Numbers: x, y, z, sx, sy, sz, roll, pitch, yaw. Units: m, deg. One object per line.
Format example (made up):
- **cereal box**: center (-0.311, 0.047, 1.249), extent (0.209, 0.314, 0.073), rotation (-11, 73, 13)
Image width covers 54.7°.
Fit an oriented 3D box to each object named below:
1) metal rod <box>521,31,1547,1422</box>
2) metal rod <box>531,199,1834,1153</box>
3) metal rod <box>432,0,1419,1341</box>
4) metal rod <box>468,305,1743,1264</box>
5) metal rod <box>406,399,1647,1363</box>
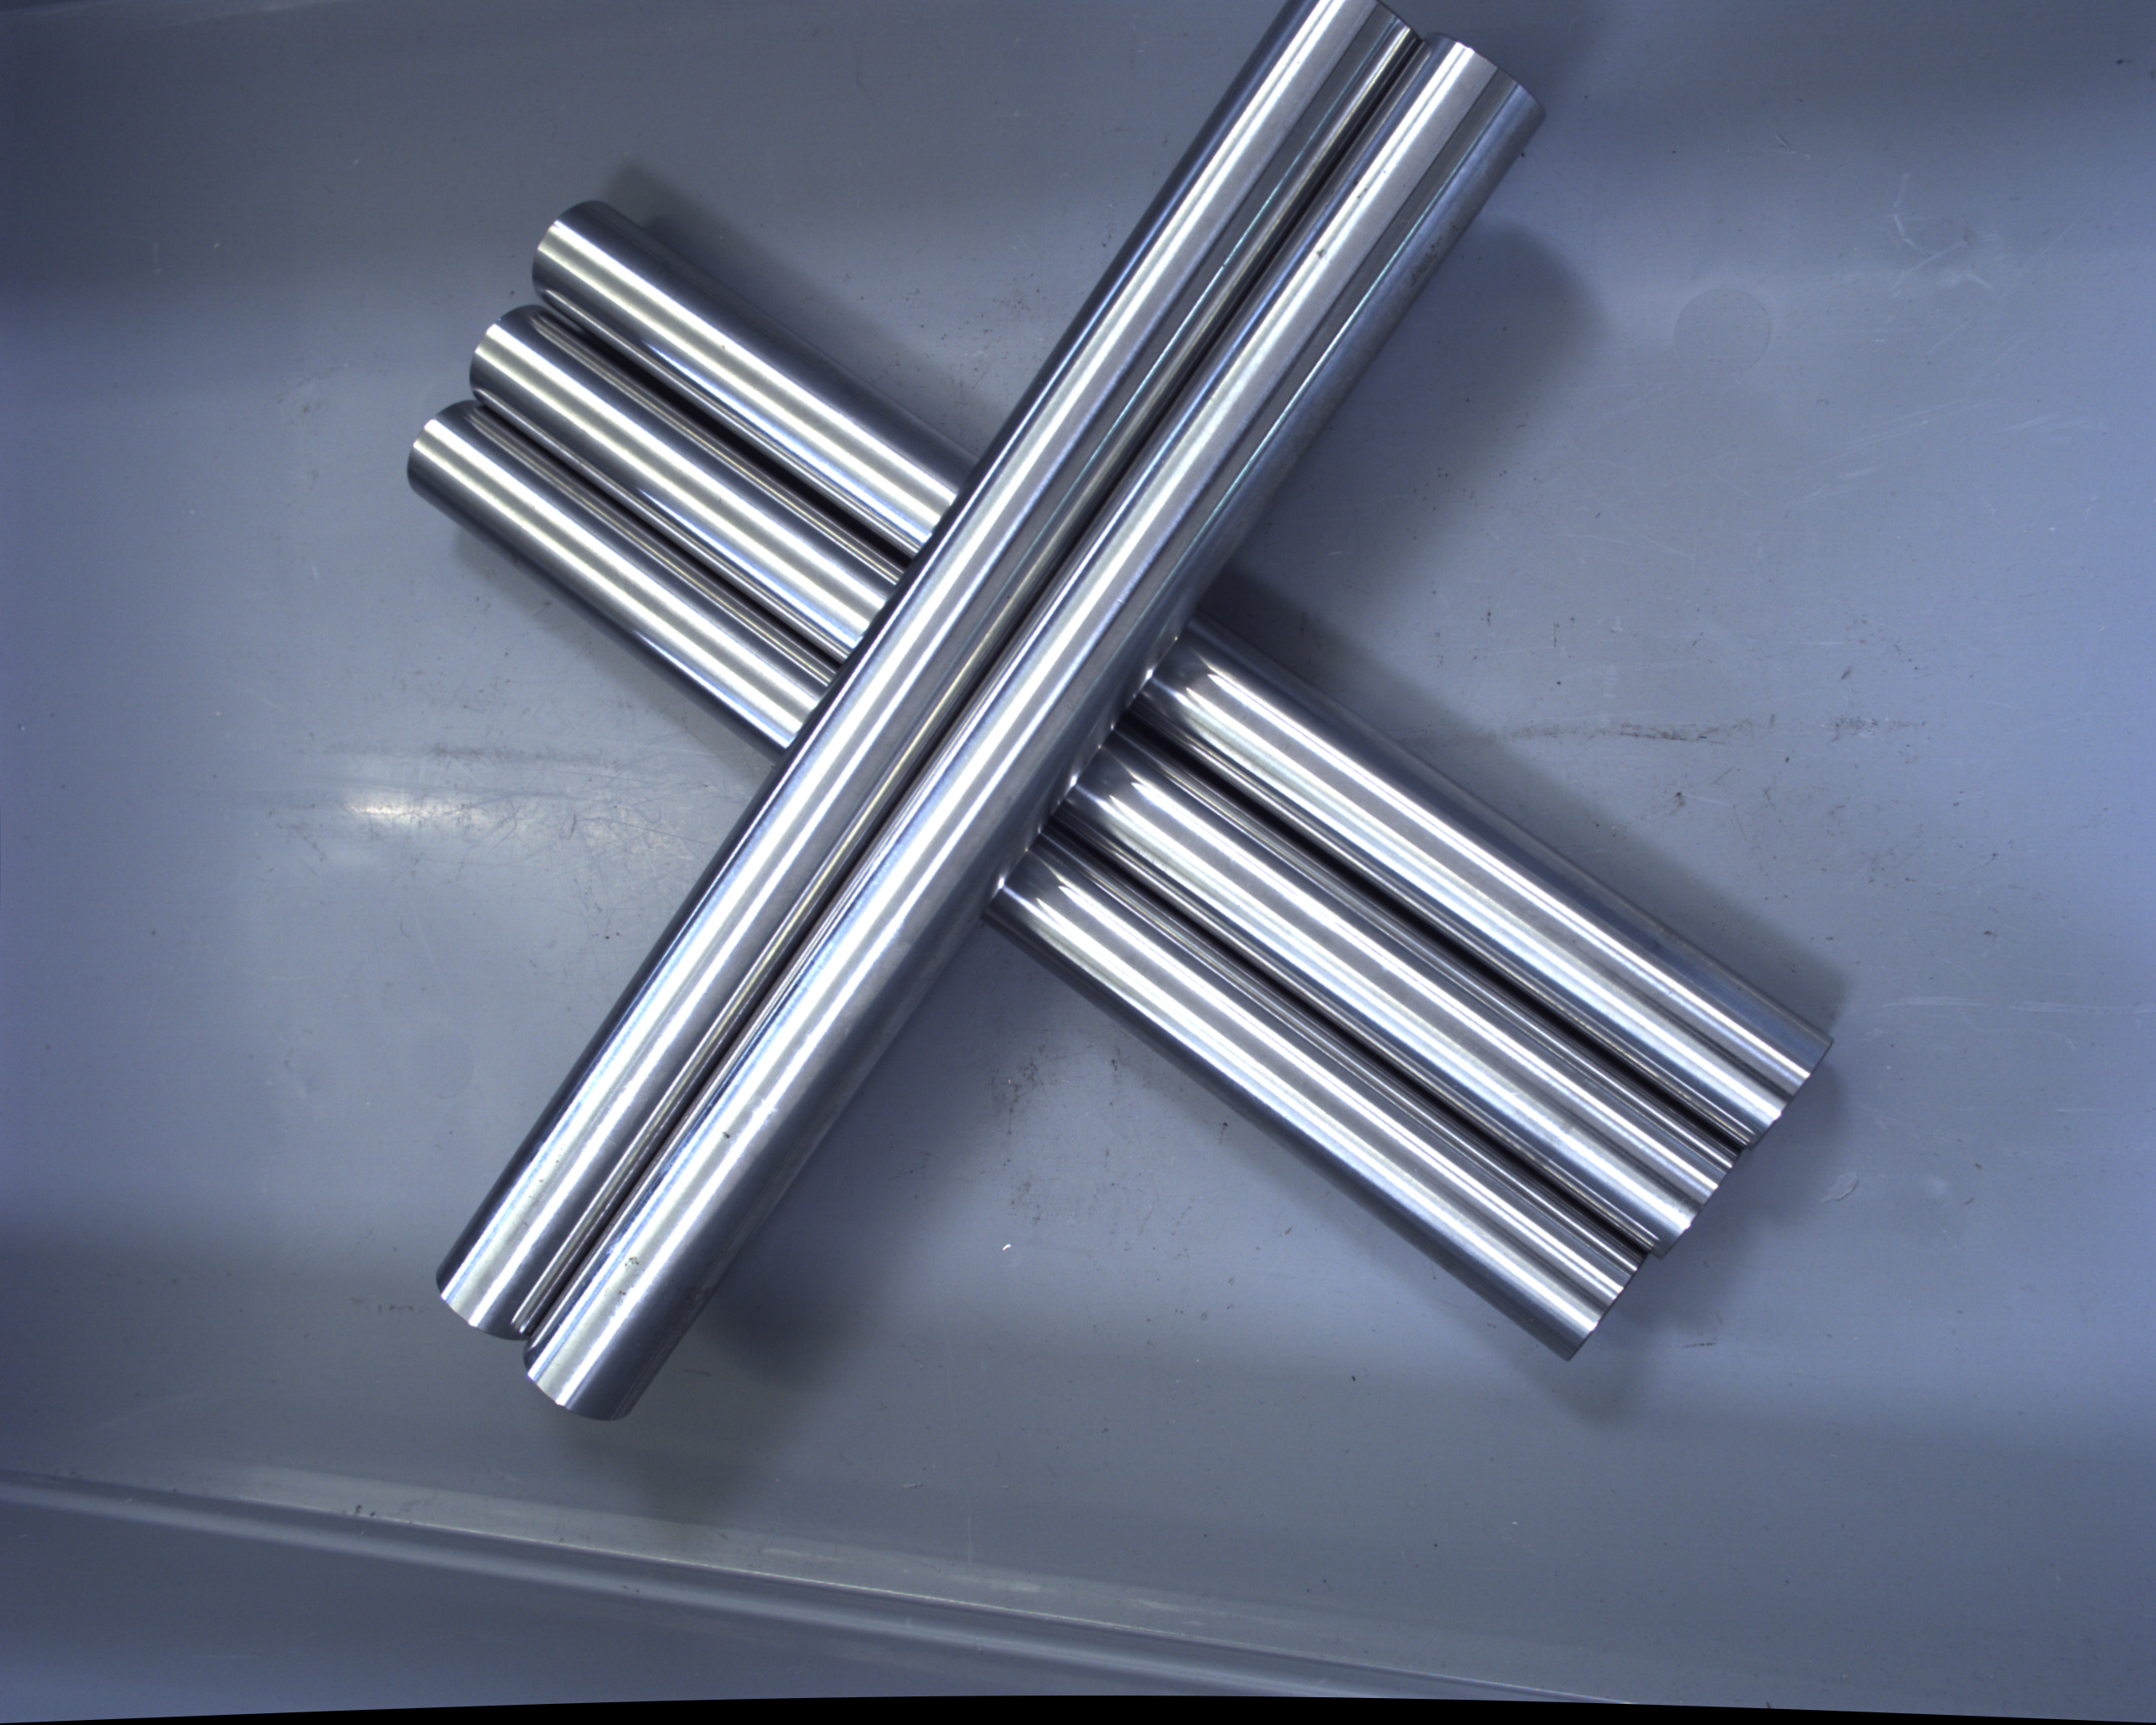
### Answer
- **metal rod**: center (-0.015, -0.016, 0.388), extent (0.025, 0.025, 0.299), rotation (39, 102, 16)
- **metal rod**: center (0.009, -0.045, 0.406), extent (0.300, 0.025, 0.025), rotation (36, 102, 16)
- **metal rod**: center (-0.035, -0.030, 0.395), extent (0.025, 0.025, 0.299), rotation (39, 102, 16)
- **metal rod**: center (-0.006, -0.024, 0.411), extent (0.300, 0.025, 0.025), rotation (36, 102, 16)
- **metal rod**: center (-0.021, -0.005, 0.416), extent (0.300, 0.025, 0.025), rotation (36, 102, 16)
